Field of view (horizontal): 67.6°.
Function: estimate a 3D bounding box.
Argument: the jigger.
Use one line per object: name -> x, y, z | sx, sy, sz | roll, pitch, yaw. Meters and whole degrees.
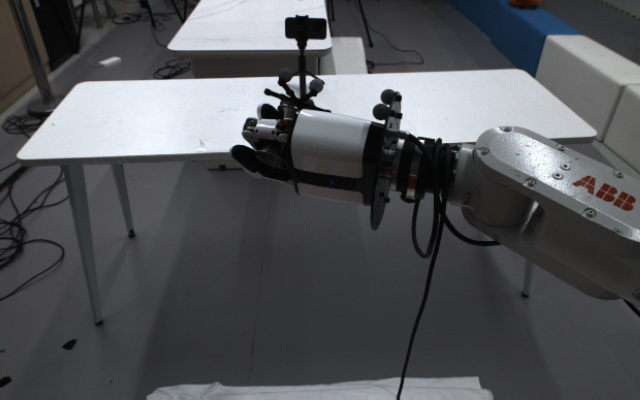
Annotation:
jigger -> -0.049, -0.081, 0.589 | 0.043, 0.043, 0.071 | 16, 70, 19
